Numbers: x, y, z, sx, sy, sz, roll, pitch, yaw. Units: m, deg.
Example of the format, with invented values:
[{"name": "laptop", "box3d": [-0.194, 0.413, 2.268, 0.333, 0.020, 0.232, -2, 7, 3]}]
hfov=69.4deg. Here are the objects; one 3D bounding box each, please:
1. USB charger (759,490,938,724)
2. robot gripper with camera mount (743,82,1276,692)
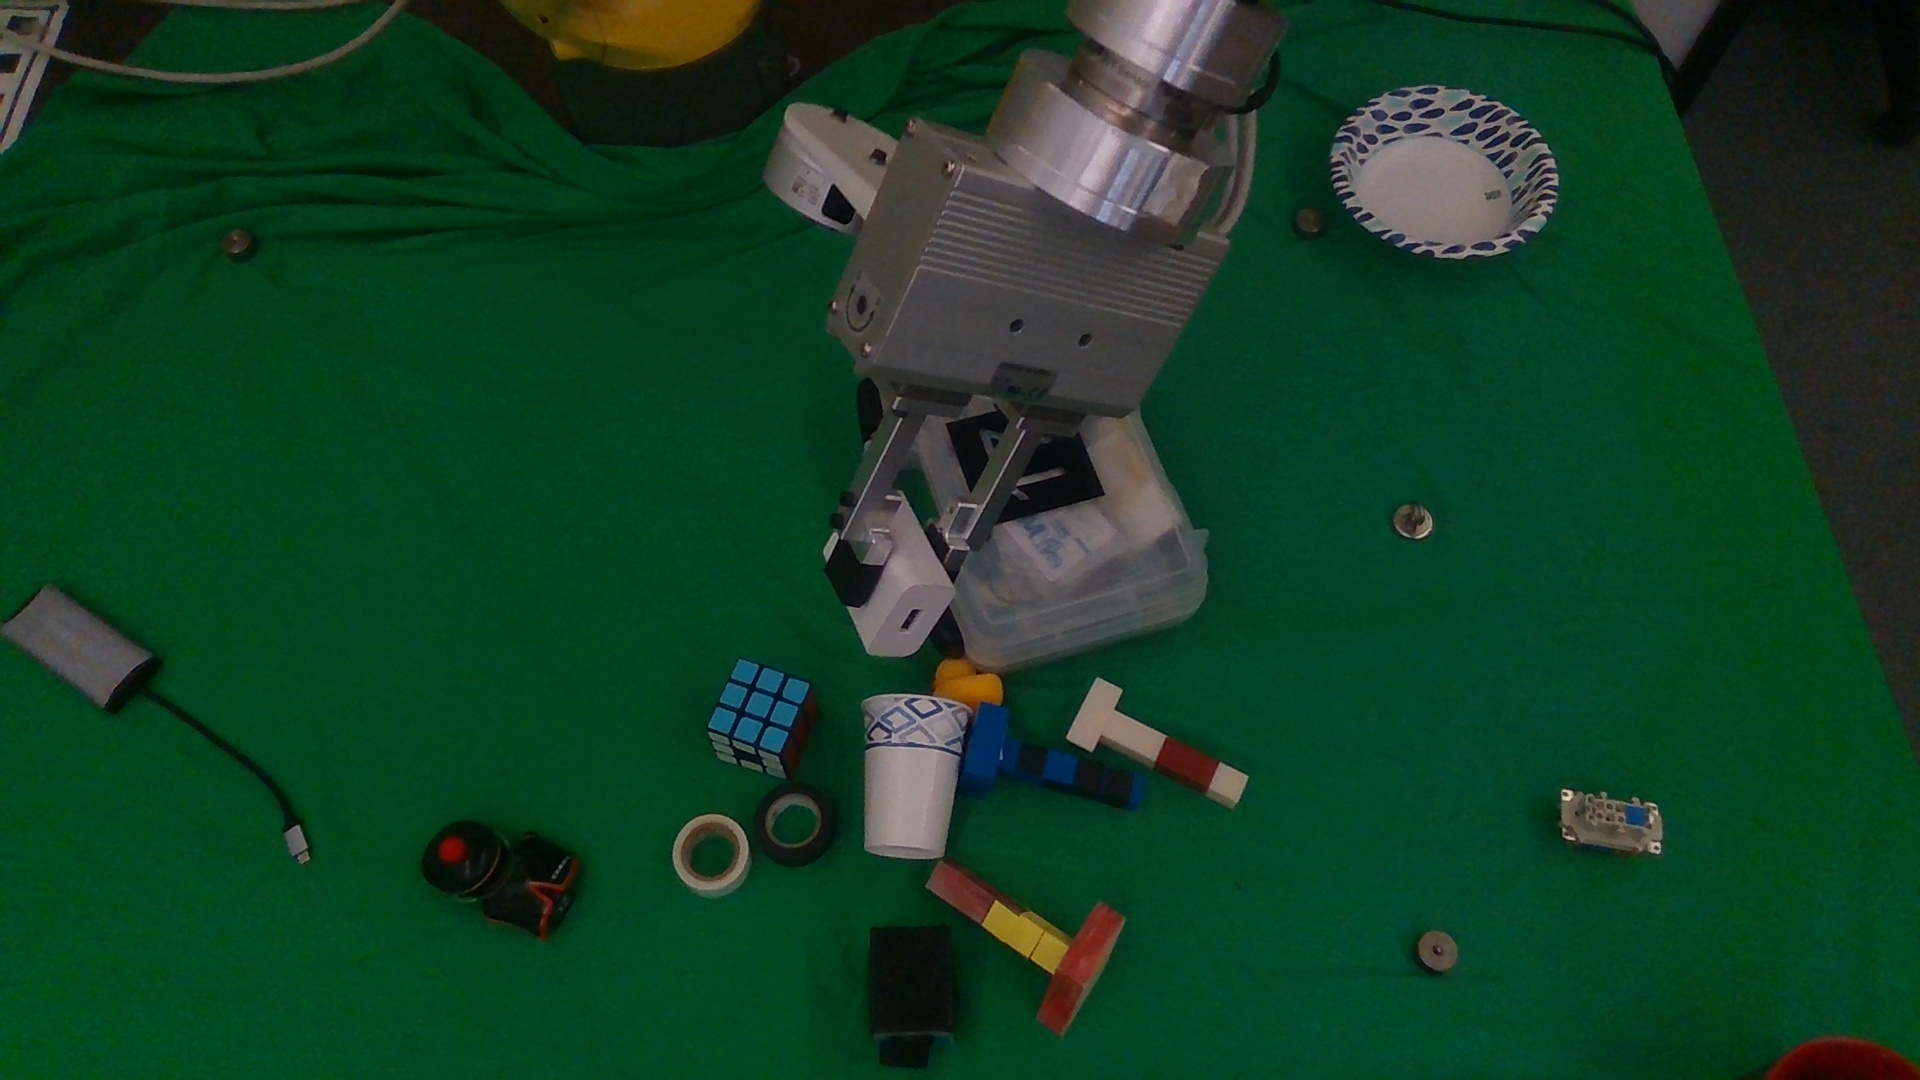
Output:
[{"name": "USB charger", "box3d": [-0.040, 0.017, 0.436, 0.029, 0.045, 0.076, 9, 45, -45]}, {"name": "robot gripper with camera mount", "box3d": [-0.033, -0.070, 0.444, 0.118, 0.159, 0.194, 9, 35, -35]}]
